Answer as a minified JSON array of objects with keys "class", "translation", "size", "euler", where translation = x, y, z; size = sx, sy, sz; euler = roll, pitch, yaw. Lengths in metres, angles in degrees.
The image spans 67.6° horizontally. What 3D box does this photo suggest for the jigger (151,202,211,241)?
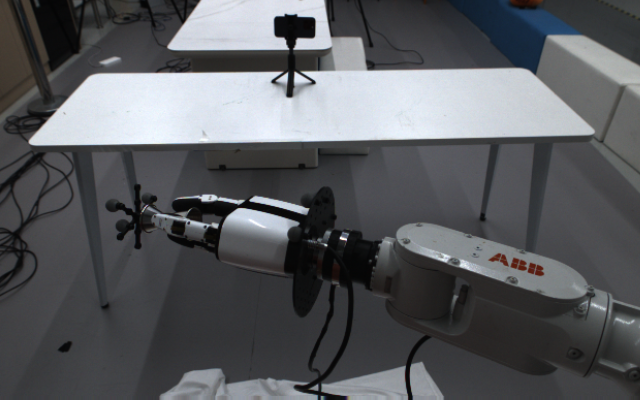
[{"class":"jigger","translation":[-0.188,0.024,0.638],"size":[0.071,0.043,0.043],"euler":[5,34,16]}]
